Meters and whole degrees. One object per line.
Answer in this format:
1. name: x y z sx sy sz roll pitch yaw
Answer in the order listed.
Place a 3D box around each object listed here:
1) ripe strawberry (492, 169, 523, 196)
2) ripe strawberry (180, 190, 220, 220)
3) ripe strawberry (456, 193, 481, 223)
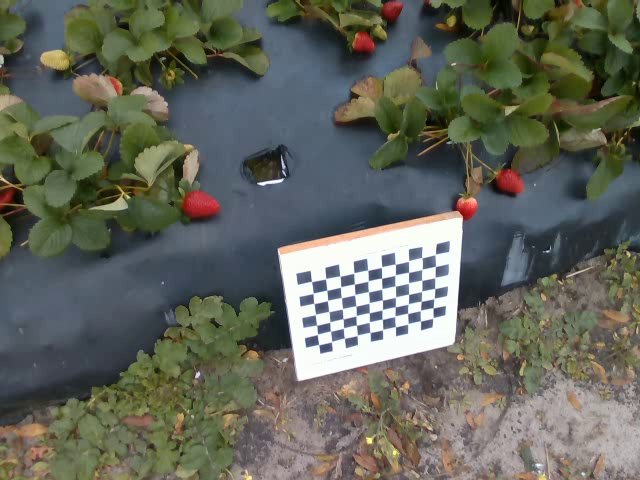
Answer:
1. ripe strawberry: 0.302 -0.094 1.091 0.044 0.059 0.042 -45 12 29
2. ripe strawberry: -0.180 -0.052 1.035 0.064 0.046 0.049 15 43 14
3. ripe strawberry: 0.234 -0.051 1.086 0.036 0.041 0.028 -7 18 0
